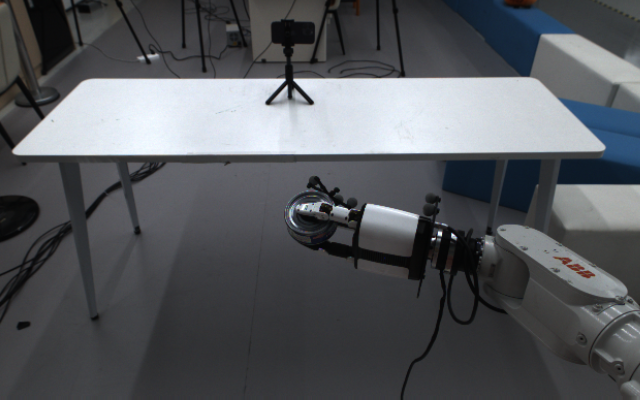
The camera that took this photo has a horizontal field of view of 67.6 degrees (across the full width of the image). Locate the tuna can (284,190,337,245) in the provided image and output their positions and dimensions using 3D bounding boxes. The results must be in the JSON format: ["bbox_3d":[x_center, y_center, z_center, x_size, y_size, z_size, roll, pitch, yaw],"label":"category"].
[{"bbox_3d":[-0.013,0.026,0.780,0.085,0.034,0.085,-4,57,6],"label":"tuna can"}]
